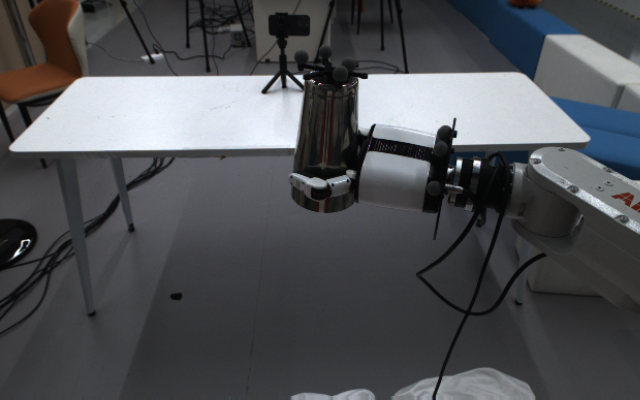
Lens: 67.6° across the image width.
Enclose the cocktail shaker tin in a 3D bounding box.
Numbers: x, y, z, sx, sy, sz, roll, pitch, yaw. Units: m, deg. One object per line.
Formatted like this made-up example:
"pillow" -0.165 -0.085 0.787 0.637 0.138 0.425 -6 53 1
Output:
"cocktail shaker tin" 0.010 -0.080 0.635 0.093 0.170 0.093 3 34 -2
